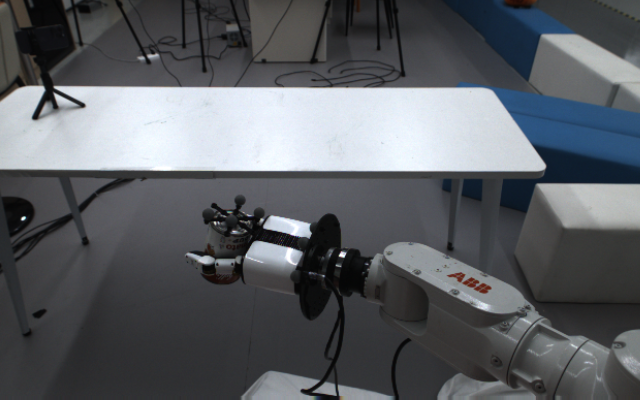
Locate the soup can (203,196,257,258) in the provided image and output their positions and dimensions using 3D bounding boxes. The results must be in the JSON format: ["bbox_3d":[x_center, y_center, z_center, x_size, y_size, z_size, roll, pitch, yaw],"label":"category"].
[{"bbox_3d":[-0.147,0.074,0.758,0.067,0.101,0.067,14,31,-9],"label":"soup can"}]
